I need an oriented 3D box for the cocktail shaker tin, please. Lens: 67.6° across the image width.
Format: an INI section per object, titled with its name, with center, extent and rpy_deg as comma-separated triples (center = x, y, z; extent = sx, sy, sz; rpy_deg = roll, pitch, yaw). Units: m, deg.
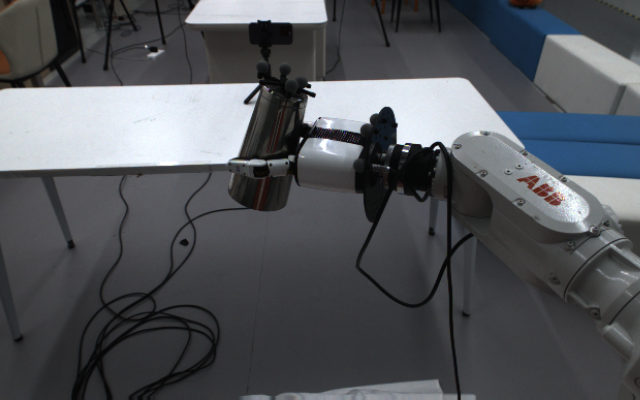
[cocktail shaker tin]
center = -0.071, -0.082, 0.703
extent = 0.093, 0.170, 0.093
rpy_deg = 15, 27, -8
